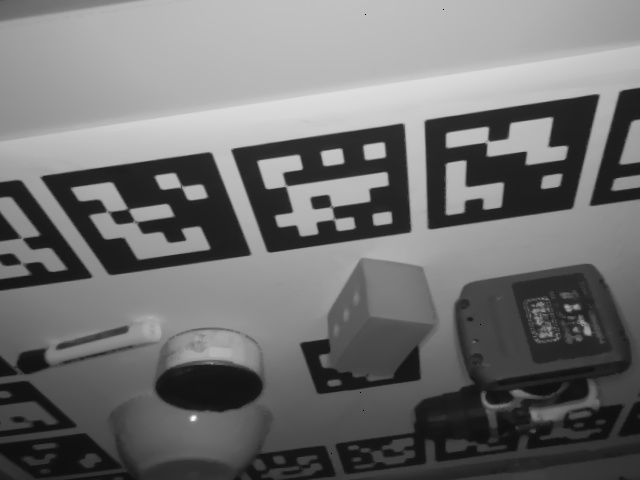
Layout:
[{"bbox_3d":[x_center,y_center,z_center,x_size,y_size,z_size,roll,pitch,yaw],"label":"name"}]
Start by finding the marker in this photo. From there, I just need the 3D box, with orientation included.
[{"bbox_3d":[-0.177,0.078,0.542,0.120,0.020,0.019,-15,135,10],"label":"marker"}]

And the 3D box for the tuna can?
[{"bbox_3d":[-0.084,0.105,0.572,0.086,0.034,0.085,-2,138,-1],"label":"tuna can"}]

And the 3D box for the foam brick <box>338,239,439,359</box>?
[{"bbox_3d":[0.050,0.046,0.520,0.052,0.053,0.077,9,134,-13],"label":"foam brick"}]

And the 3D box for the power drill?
[{"bbox_3d":[0.181,0.107,0.595,0.184,0.058,0.186,-7,140,6],"label":"power drill"}]

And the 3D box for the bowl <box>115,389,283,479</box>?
[{"bbox_3d":[-0.114,0.197,0.669,0.162,0.055,0.160,-7,144,-4],"label":"bowl"}]
